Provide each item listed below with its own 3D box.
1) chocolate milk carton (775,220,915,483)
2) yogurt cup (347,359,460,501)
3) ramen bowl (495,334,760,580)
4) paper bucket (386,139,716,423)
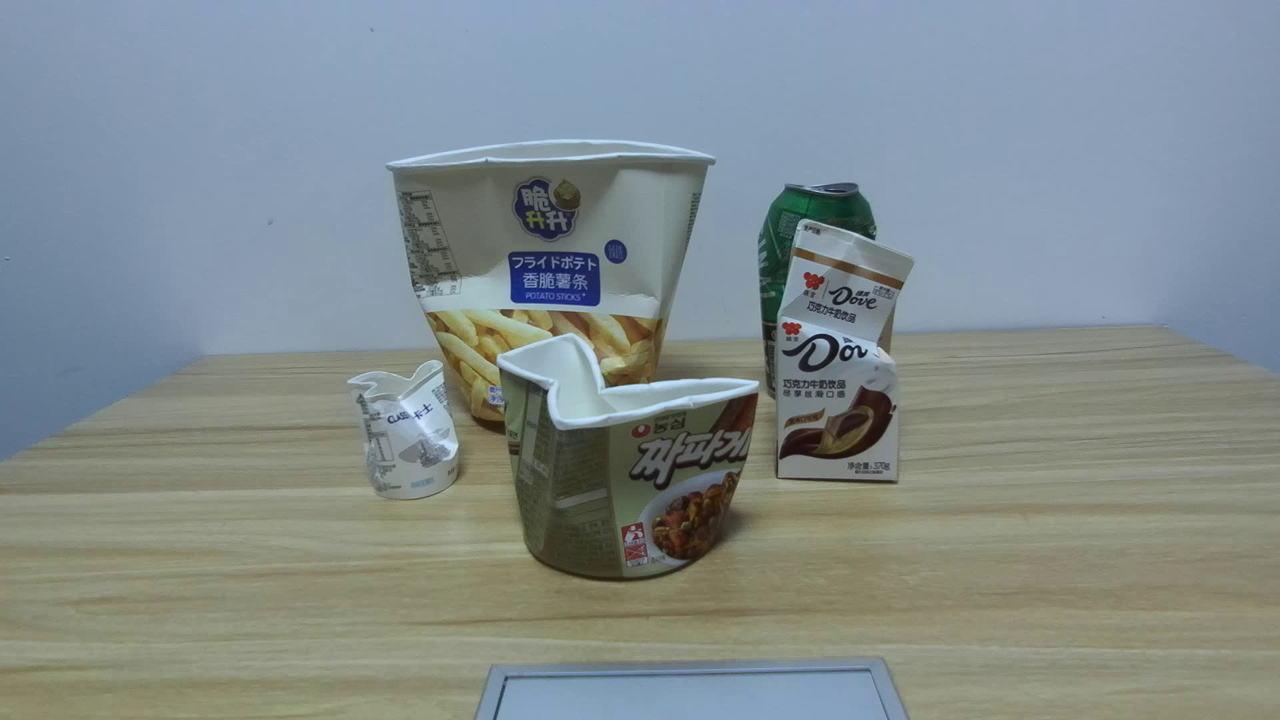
[{"bbox_3d":[0.121,-0.009,0.432,0.076,0.155,0.073,2,21,10],"label":"chocolate milk carton"},{"bbox_3d":[-0.147,0.043,0.445,0.055,0.072,0.055,-14,22,-30],"label":"yogurt cup"},{"bbox_3d":[-0.014,0.045,0.384,0.112,0.093,0.127,-12,22,-24],"label":"ramen bowl"},{"bbox_3d":[-0.065,-0.060,0.538,0.218,0.199,0.147,-8,21,-15],"label":"paper bucket"}]
